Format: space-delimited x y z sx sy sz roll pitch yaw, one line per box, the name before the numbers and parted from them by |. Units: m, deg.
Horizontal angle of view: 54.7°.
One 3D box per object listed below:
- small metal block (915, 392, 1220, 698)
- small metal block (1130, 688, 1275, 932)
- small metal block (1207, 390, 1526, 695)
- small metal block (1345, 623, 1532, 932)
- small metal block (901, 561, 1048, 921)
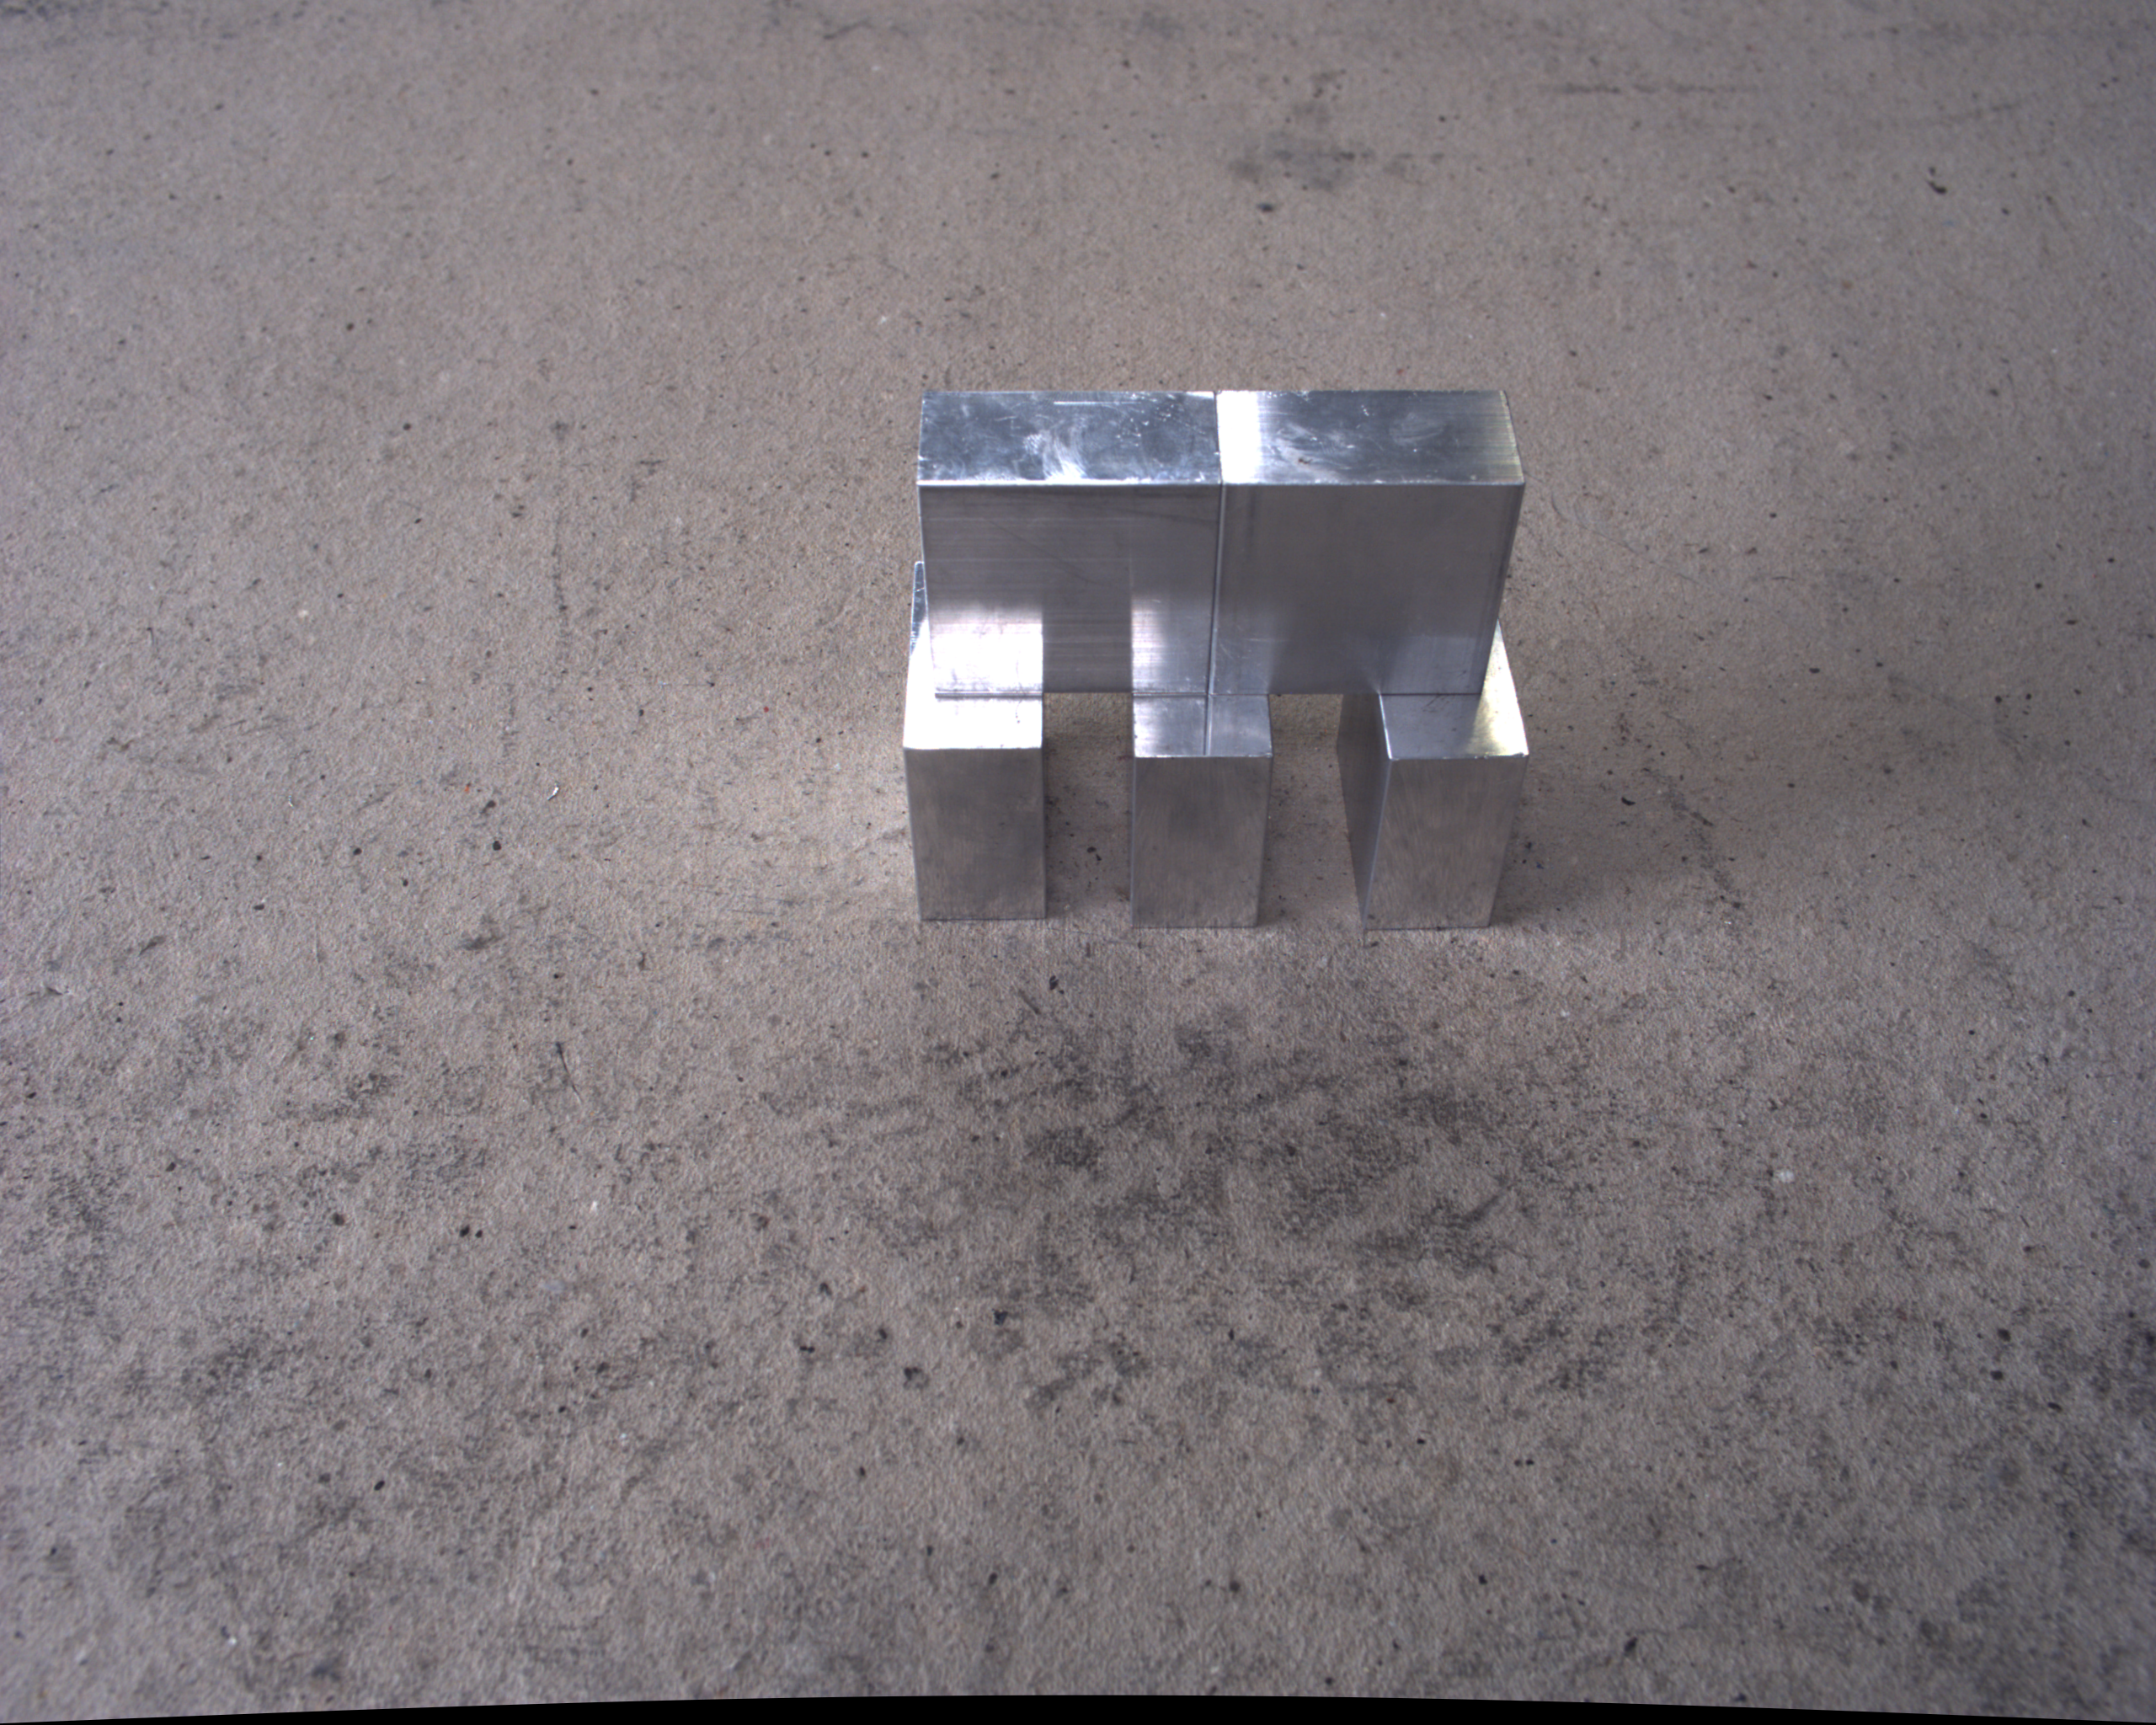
small metal block | -0.002 -0.056 0.371 0.050 0.050 0.025 0 50 -1
small metal block | 0.022 -0.022 0.407 0.025 0.050 0.050 -1 50 0
small metal block | 0.049 -0.056 0.371 0.050 0.050 0.025 0 50 -1
small metal block | 0.068 -0.022 0.407 0.025 0.050 0.050 -1 50 0
small metal block | -0.019 -0.024 0.407 0.025 0.050 0.050 -1 50 0
